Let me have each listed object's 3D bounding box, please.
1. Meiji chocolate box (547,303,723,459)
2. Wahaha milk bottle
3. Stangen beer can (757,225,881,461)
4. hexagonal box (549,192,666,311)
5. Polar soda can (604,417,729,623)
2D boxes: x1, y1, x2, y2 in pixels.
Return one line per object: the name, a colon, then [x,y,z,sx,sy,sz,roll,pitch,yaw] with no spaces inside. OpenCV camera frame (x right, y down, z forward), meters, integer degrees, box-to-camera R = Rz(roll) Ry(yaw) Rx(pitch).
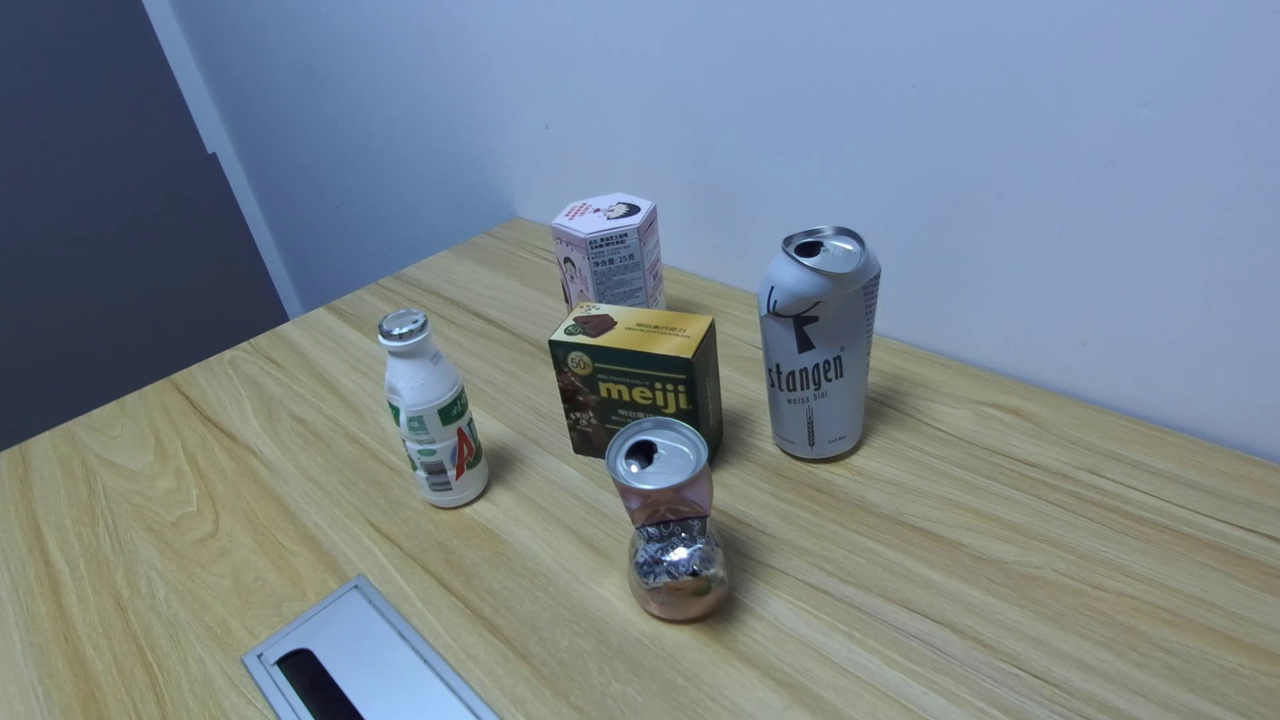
Meiji chocolate box: [0.000,0.022,0.514,0.109,0.109,0.056,8,37,22]
Wahaha milk bottle: [-0.145,0.040,0.496,0.053,0.137,0.053,-4,34,3]
Stangen beer can: [0.122,-0.007,0.485,0.065,0.162,0.077,11,39,26]
hexagonal box: [-0.024,-0.068,0.624,0.083,0.136,0.091,4,36,17]
Polar soda can: [0.018,0.093,0.405,0.074,0.114,0.070,13,45,32]
